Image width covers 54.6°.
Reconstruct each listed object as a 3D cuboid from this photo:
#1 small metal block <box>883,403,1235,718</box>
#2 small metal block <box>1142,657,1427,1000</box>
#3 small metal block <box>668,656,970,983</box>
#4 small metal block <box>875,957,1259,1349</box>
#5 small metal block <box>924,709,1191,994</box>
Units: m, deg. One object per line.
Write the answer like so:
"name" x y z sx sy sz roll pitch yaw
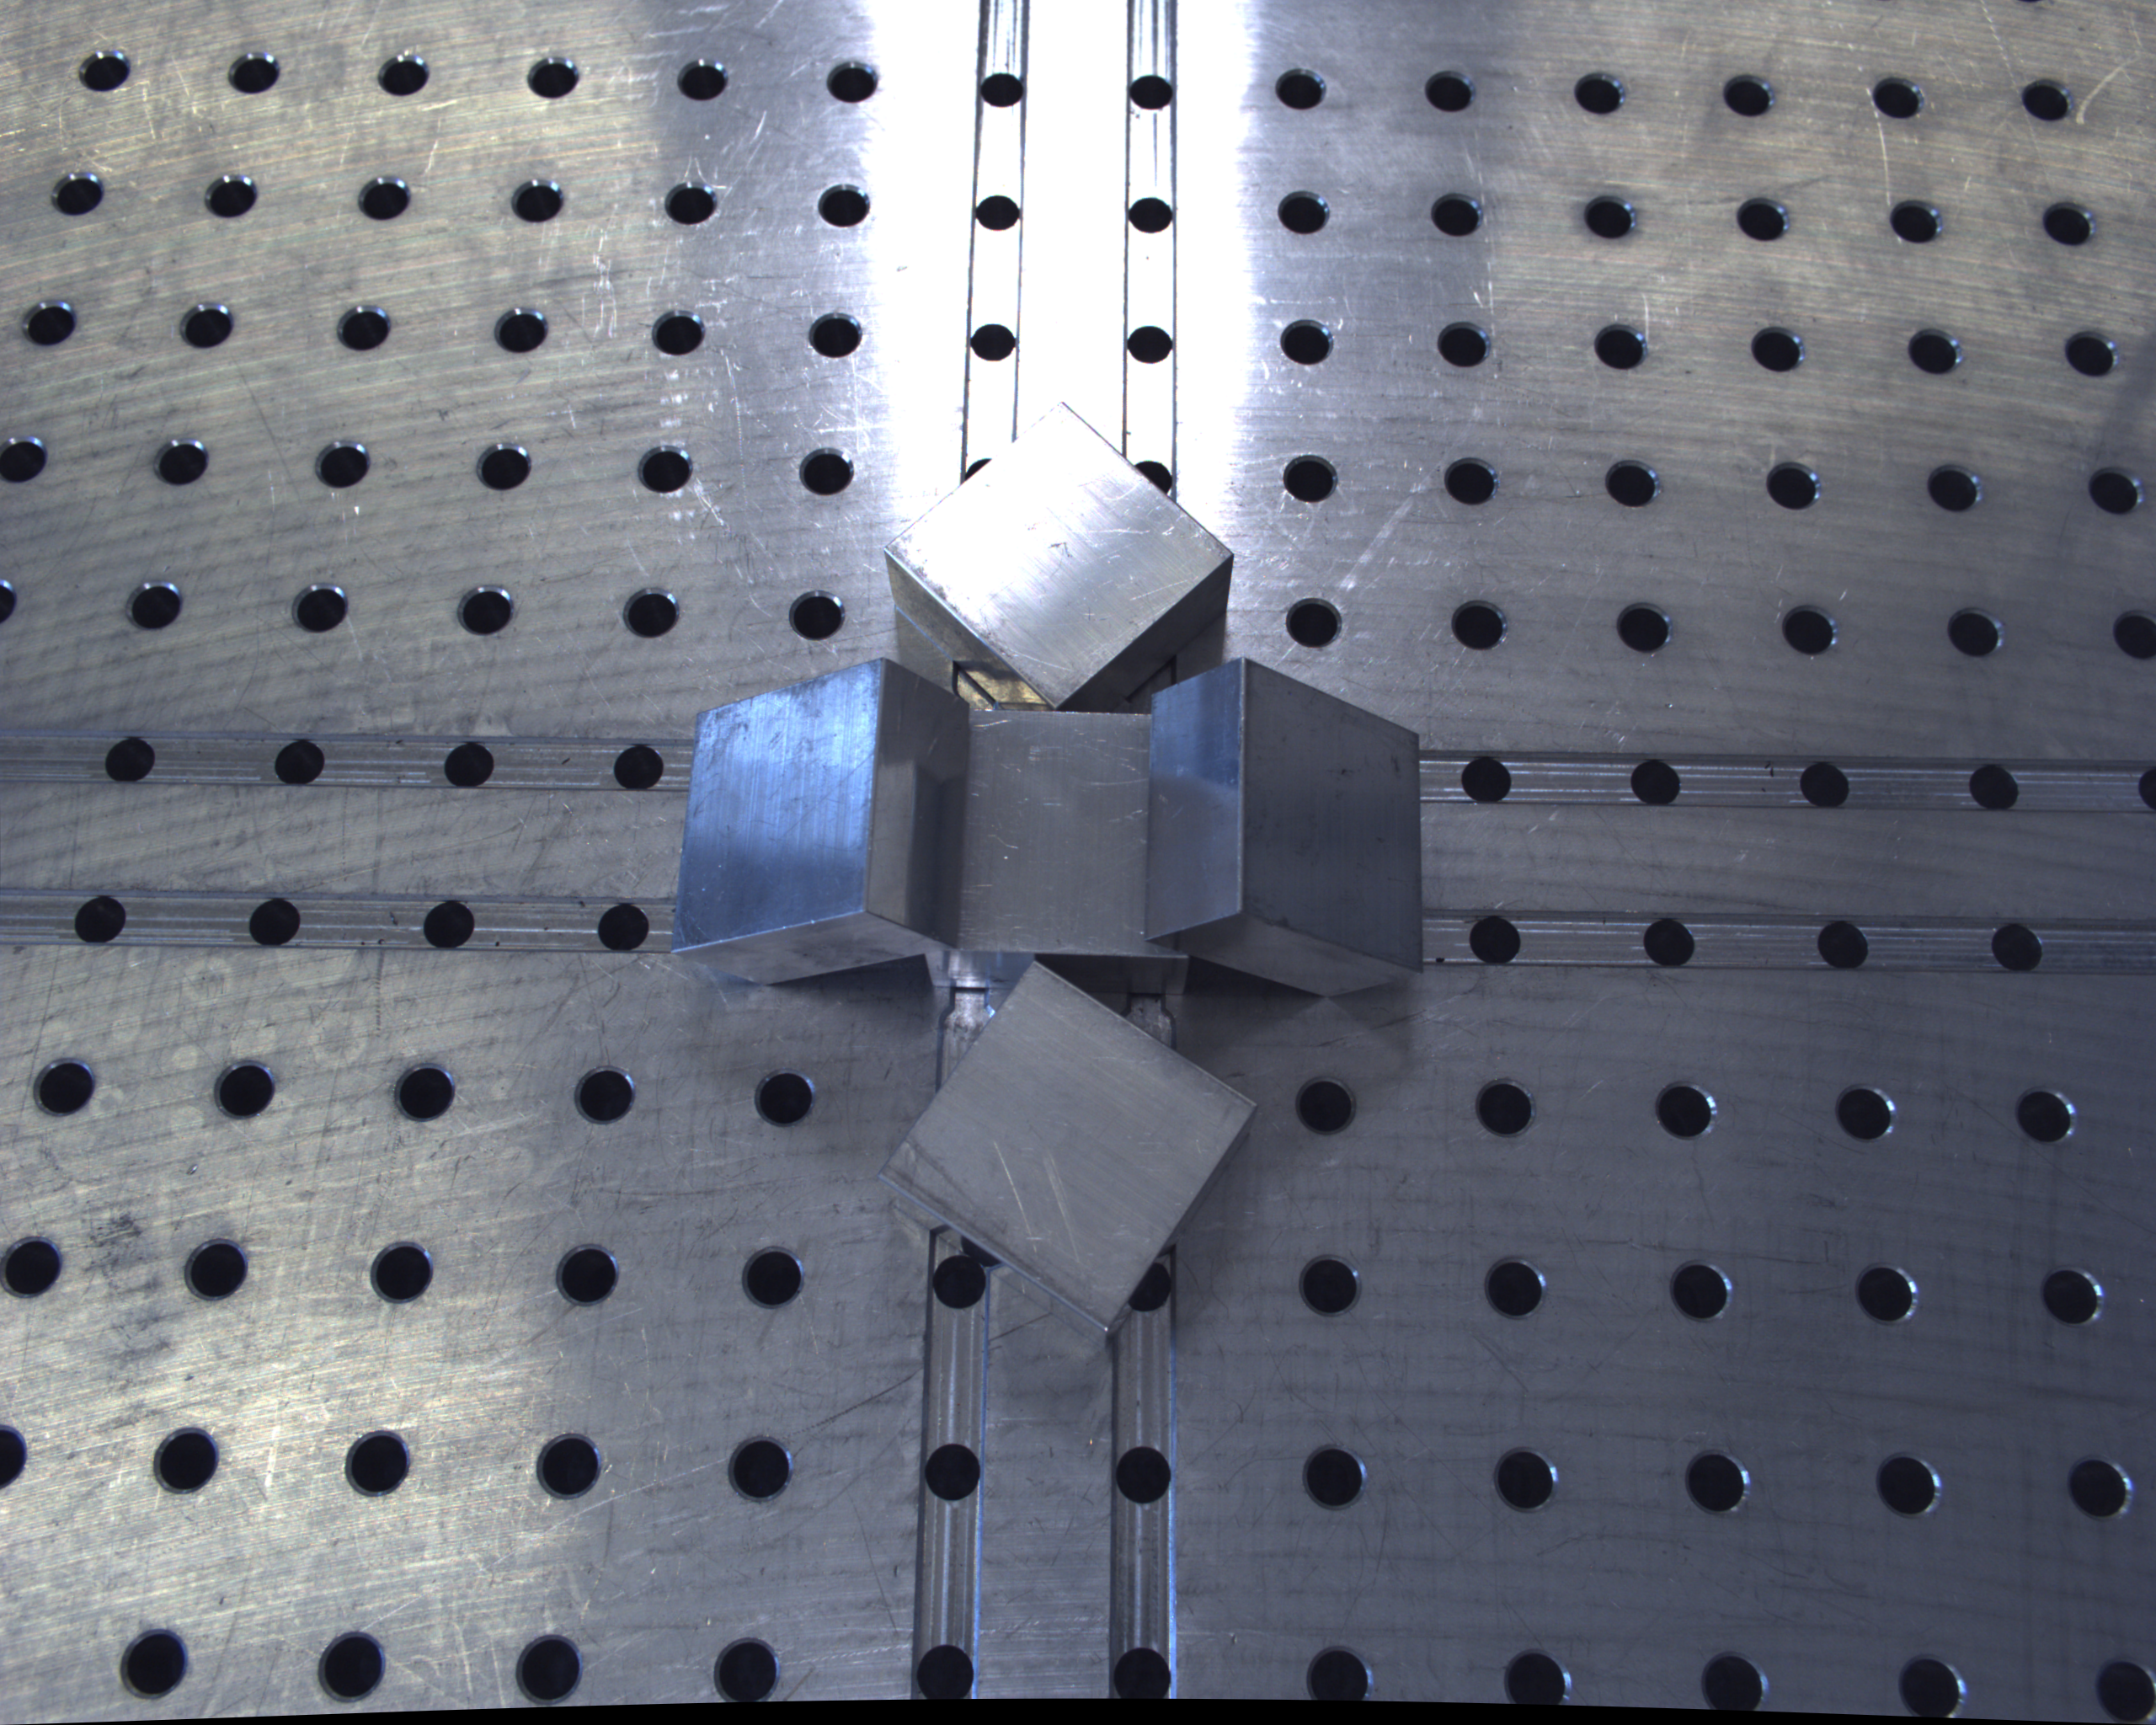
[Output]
"small metal block" -0.004 -0.058 0.433 0.050 0.025 0.050 -42 75 -14
"small metal block" 0.040 -0.005 0.399 0.050 0.025 0.050 19 65 -37
"small metal block" -0.049 -0.007 0.401 0.050 0.025 0.050 -12 67 35
"small metal block" -0.002 0.054 0.391 0.050 0.025 0.050 32 74 12
"small metal block" -0.003 -0.002 0.412 0.050 0.025 0.050 1 69 0
